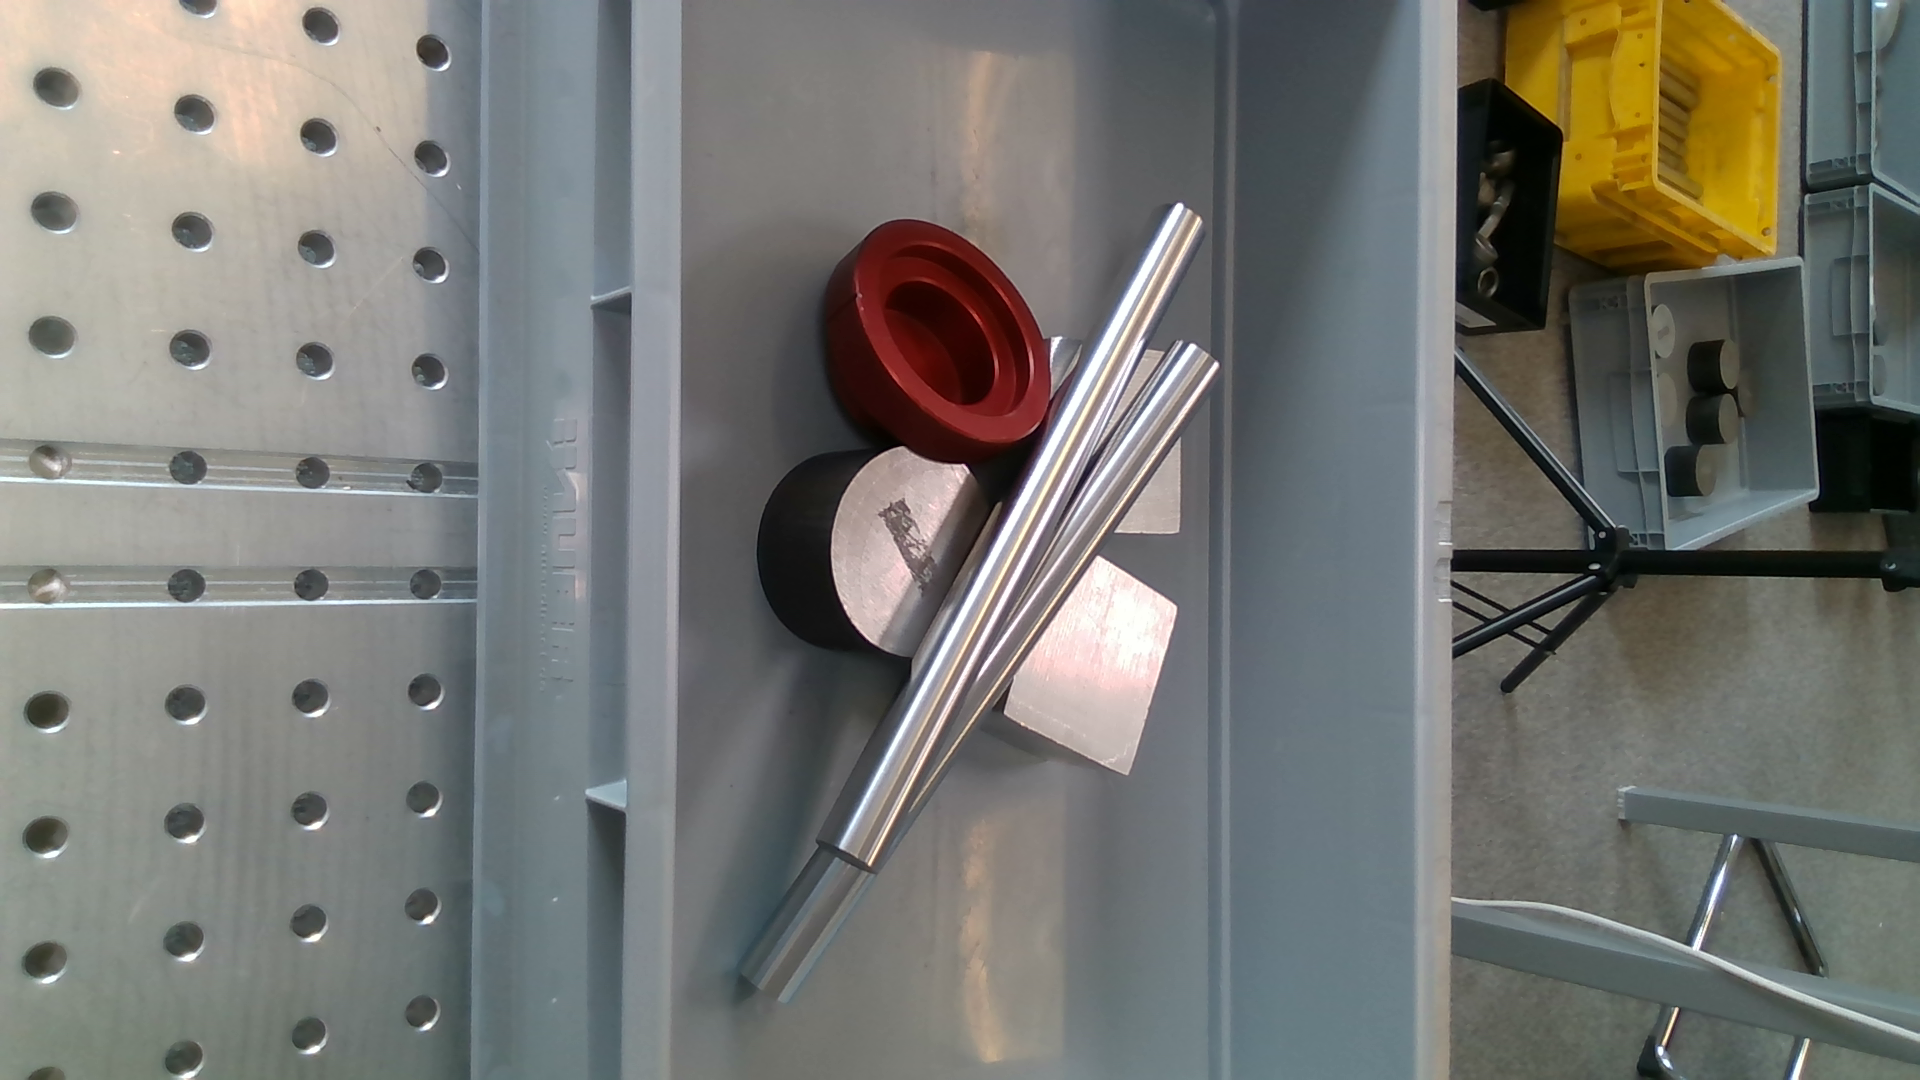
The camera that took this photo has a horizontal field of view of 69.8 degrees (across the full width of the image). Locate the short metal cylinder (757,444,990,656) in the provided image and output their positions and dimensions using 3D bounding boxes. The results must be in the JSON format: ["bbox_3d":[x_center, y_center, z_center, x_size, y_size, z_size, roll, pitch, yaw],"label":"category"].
[{"bbox_3d":[-0.032,0.004,0.538,0.080,0.050,0.080,0,90,-40],"label":"short metal cylinder"}]

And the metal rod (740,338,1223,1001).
[{"bbox_3d":[0.012,0.046,0.543,0.025,0.025,0.300,41,79,-33],"label":"metal rod"}]

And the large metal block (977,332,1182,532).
[{"bbox_3d":[0.052,-0.044,0.605,0.080,0.050,0.080,1,89,-40],"label":"large metal block"}]

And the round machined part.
[{"bbox_3d":[-0.014,-0.074,0.544,0.098,0.042,0.098,23,52,-33],"label":"round machined part"}]

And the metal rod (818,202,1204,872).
[{"bbox_3d":[0.027,-0.012,0.537,0.025,0.025,0.299,42,65,-32],"label":"metal rod"}]

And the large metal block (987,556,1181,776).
[{"bbox_3d":[0.042,0.049,0.600,0.080,0.050,0.080,31,71,-36],"label":"large metal block"}]
